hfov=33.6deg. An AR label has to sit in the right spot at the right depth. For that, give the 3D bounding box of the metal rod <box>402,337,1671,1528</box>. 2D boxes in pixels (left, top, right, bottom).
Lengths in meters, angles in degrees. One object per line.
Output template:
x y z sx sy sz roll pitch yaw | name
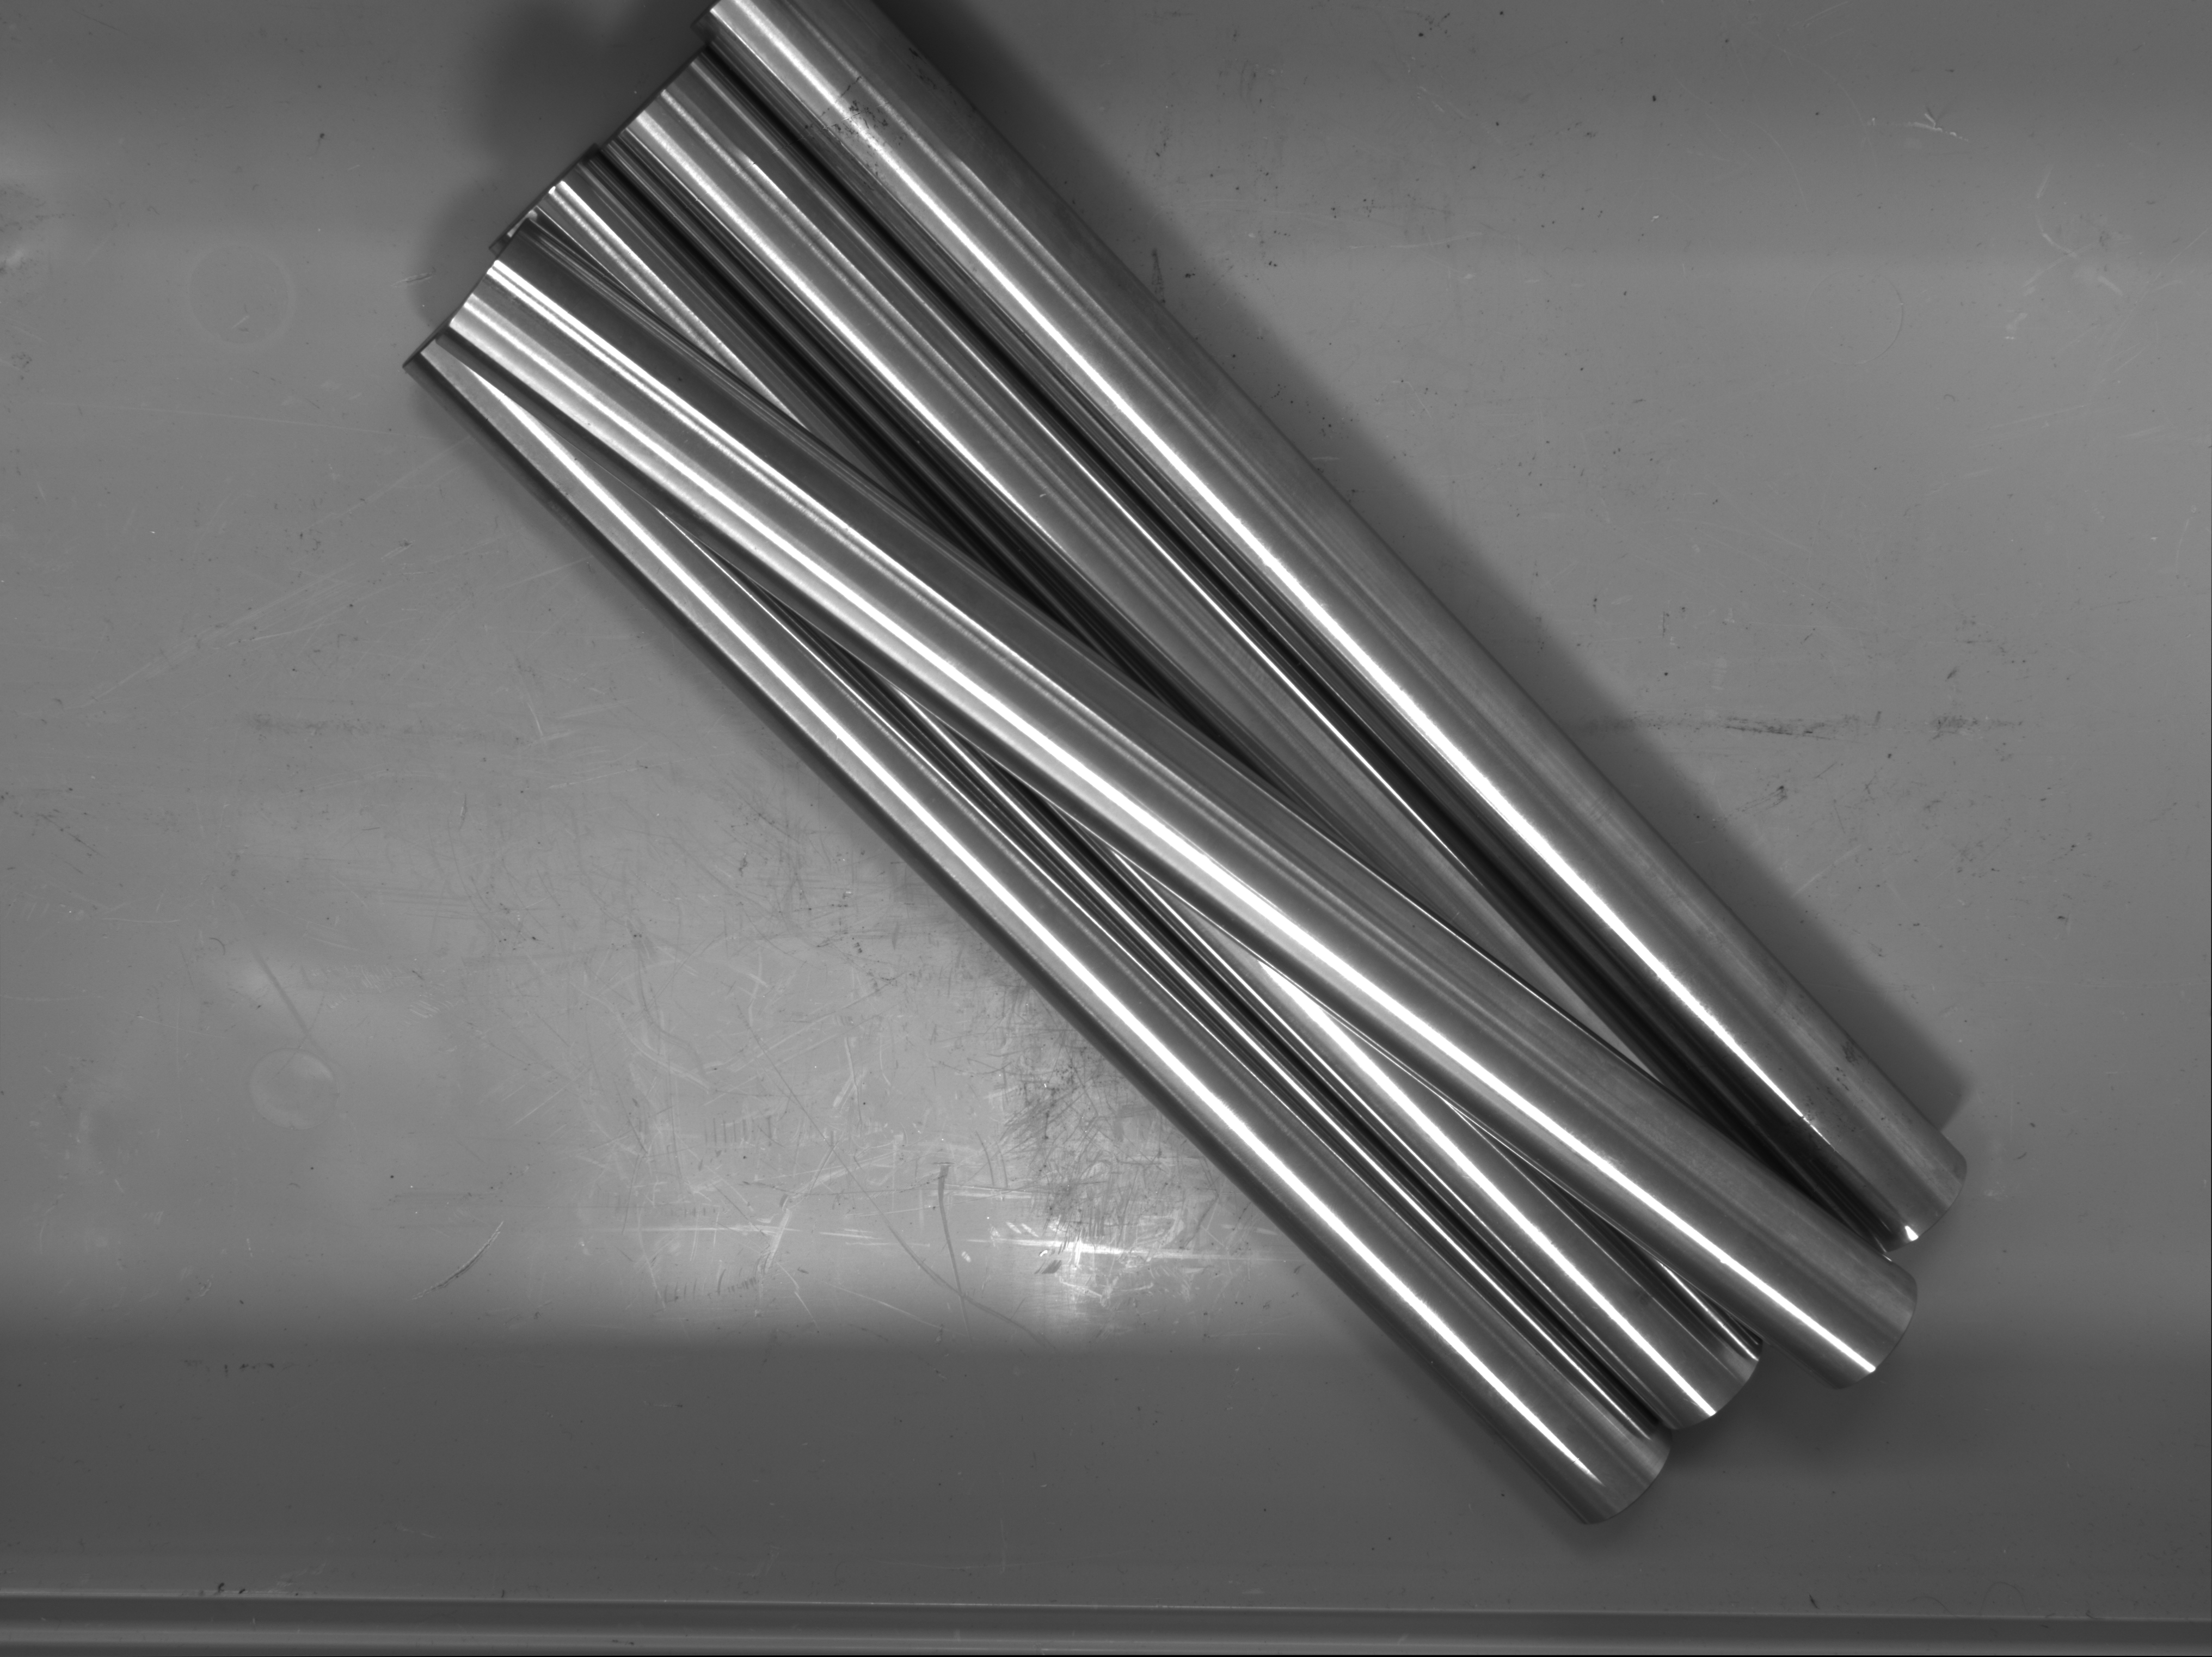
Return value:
-0.006 0.018 0.649 0.025 0.025 0.300 -41 105 14 | metal rod

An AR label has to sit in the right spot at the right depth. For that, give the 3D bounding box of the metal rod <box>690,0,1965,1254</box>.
0.044 -0.035 0.630 0.025 0.025 0.300 -41 105 14 | metal rod

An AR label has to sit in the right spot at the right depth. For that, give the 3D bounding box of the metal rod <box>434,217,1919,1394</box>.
0.018 0.001 0.616 0.300 0.025 0.025 37 106 -12 | metal rod

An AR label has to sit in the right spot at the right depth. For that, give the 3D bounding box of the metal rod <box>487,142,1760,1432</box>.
0.009 -0.001 0.642 0.025 0.025 0.300 -41 105 14 | metal rod

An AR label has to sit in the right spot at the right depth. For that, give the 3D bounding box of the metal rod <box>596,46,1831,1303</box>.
0.028 -0.016 0.637 0.025 0.025 0.300 -41 105 14 | metal rod
